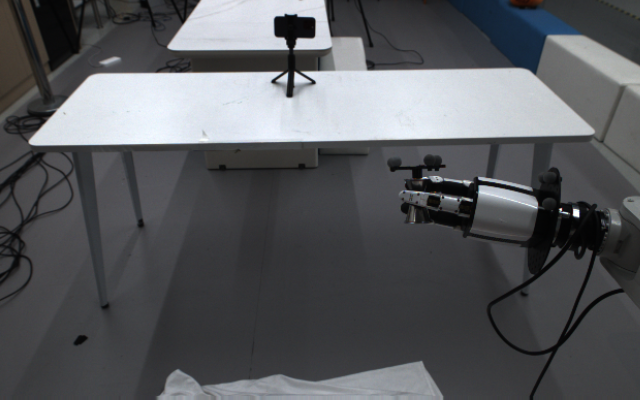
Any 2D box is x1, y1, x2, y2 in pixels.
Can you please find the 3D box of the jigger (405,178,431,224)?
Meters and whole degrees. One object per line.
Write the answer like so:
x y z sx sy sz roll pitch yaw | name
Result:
0.150 0.000 0.748 0.043 0.071 0.043 -2 3 0 | jigger
